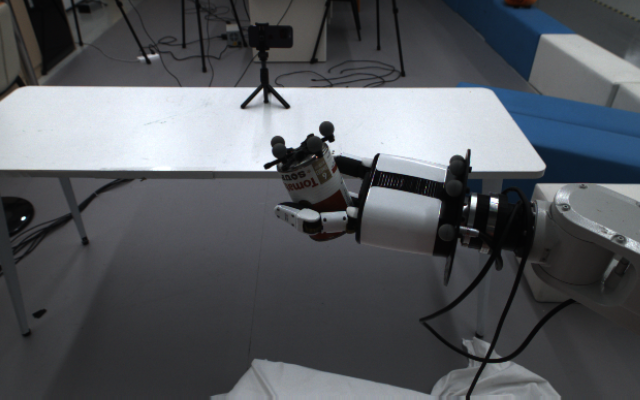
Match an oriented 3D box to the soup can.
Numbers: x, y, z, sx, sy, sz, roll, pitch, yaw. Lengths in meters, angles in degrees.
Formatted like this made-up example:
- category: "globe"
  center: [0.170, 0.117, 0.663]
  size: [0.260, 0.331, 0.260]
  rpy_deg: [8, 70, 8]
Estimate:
- category: "soup can"
  center: [0.000, -0.011, 0.584]
  size: [0.067, 0.101, 0.067]
  rpy_deg: [-21, 24, 10]
